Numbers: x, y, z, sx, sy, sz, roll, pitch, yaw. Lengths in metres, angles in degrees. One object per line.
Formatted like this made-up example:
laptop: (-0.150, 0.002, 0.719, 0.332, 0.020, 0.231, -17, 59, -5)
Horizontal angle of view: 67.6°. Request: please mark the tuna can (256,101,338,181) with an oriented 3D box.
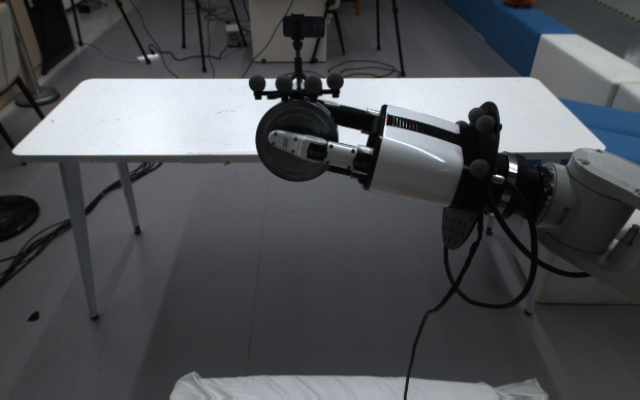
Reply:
tuna can: (-0.019, -0.060, 0.509, 0.085, 0.085, 0.034, 4, 18, 3)
